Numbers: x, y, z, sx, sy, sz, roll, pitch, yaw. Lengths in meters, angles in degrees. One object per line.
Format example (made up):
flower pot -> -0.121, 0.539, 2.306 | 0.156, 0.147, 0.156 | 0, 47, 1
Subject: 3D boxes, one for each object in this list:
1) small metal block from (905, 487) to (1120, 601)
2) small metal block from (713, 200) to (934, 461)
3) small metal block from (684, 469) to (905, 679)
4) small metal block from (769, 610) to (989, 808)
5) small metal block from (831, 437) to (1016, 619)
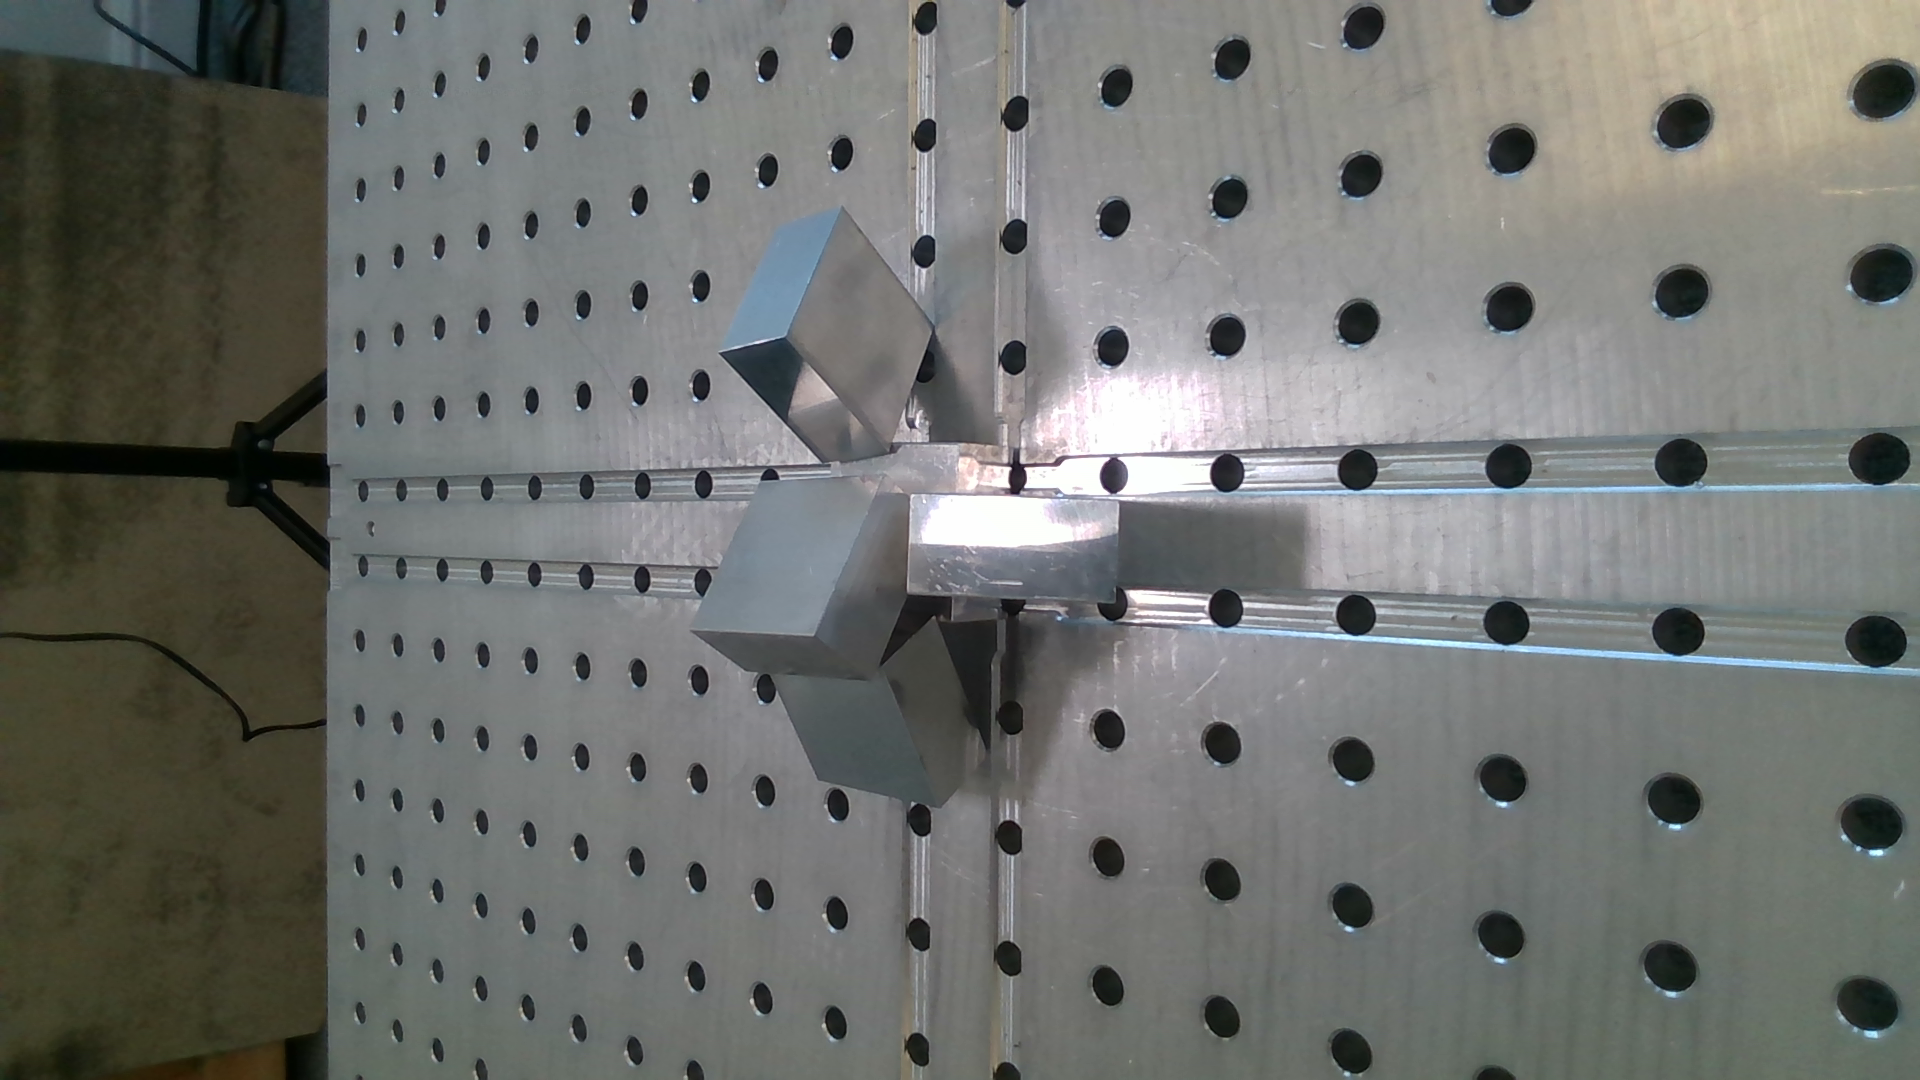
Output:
small metal block -> 0.014, 0.000, 0.352 | 0.050, 0.050, 0.025 | 2, 91, 4
small metal block -> -0.037, -0.059, 0.395 | 0.025, 0.050, 0.050 | -6, 51, 34
small metal block -> -0.041, 0.009, 0.380 | 0.050, 0.025, 0.050 | -1, 57, 40
small metal block -> -0.025, 0.046, 0.401 | 0.050, 0.025, 0.050 | 3, 123, 40
small metal block -> -0.012, -0.004, 0.404 | 0.050, 0.025, 0.050 | 3, 92, 40
